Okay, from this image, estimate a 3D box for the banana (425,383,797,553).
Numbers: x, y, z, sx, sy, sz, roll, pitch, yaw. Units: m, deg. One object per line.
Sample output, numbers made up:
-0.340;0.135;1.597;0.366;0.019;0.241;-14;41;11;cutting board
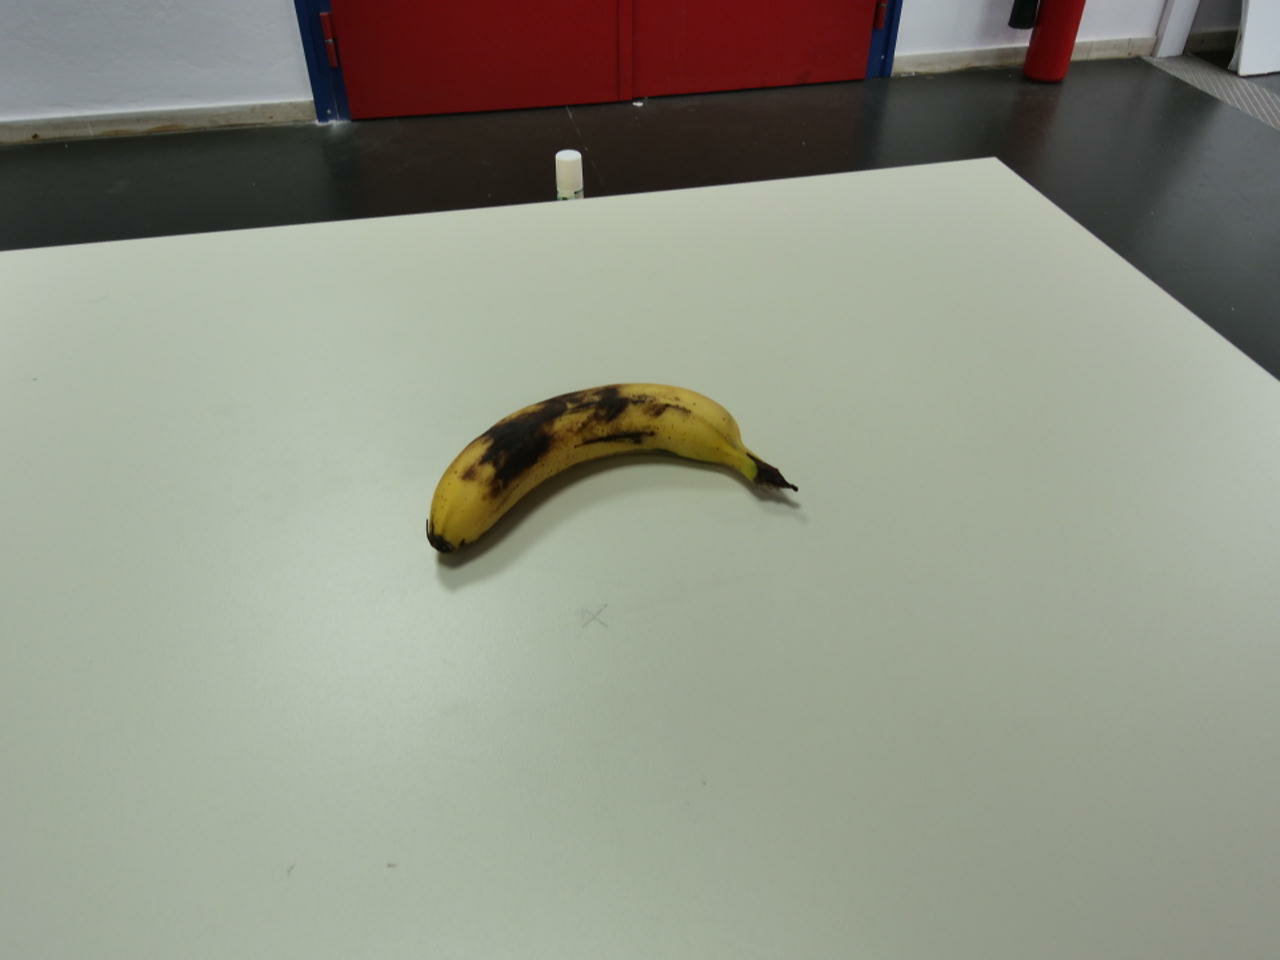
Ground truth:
-0.023;-0.014;0.527;0.187;0.039;0.094;-9;40;-12;banana
